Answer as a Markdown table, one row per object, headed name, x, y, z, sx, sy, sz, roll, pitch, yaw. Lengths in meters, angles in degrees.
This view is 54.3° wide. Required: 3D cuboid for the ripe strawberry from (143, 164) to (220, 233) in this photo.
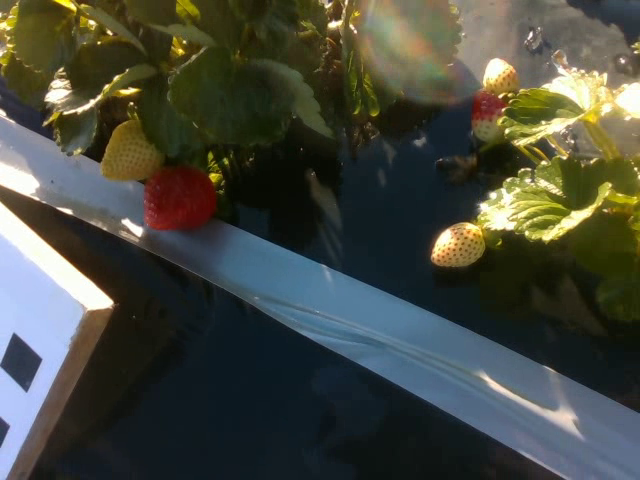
| name | x | y | z | sx | sy | sz | roll | pitch | yaw |
| --- | --- | --- | --- | --- | --- | --- | --- | --- | --- |
| ripe strawberry | -0.084 | -0.022 | 0.352 | 0.045 | 0.048 | 0.063 | -35 | 17 | 23 |
